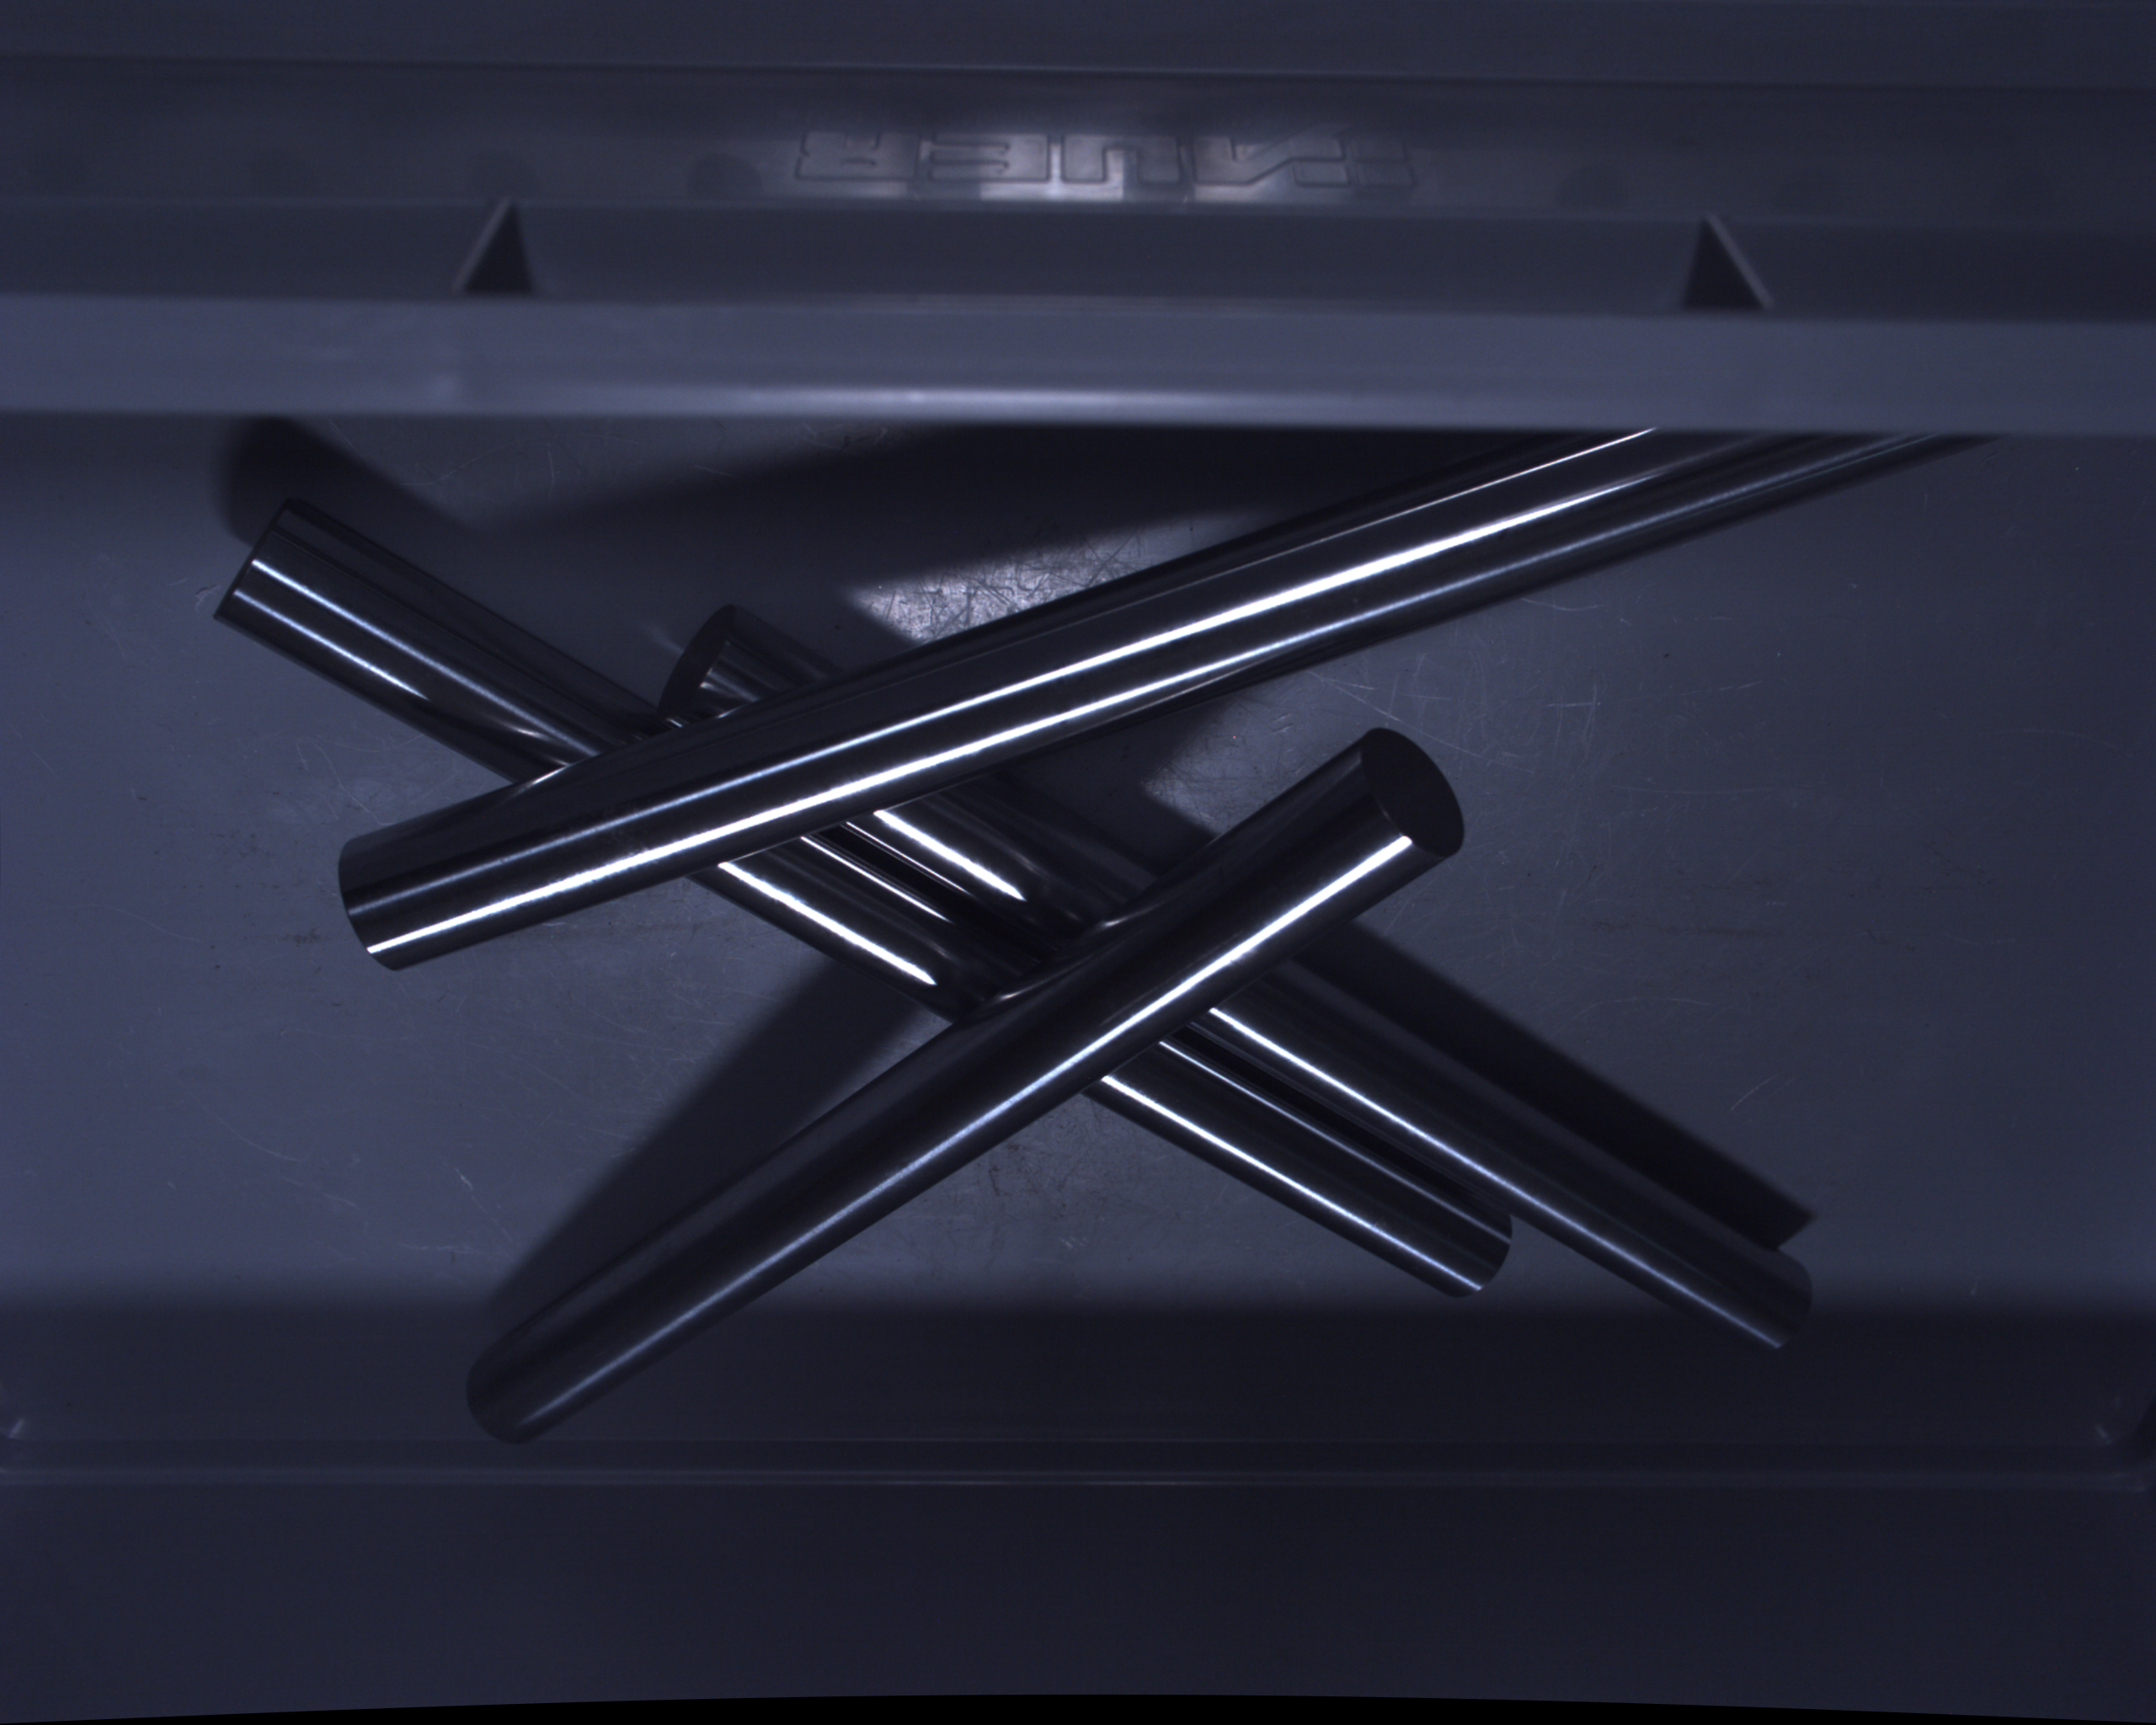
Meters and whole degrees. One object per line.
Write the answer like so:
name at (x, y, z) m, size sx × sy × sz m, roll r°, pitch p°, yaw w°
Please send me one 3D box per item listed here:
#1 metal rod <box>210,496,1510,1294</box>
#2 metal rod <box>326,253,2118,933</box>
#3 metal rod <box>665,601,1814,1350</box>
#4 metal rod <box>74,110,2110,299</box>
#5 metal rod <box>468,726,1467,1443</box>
metal rod at (-0.026, 0.018, 0.423) m, size 0.301 × 0.025 × 0.025 m, roll 31°, pitch 123°, yaw -24°
metal rod at (0.018, -0.044, 0.350) m, size 0.301 × 0.025 × 0.025 m, roll -17°, pitch 129°, yaw 6°
metal rod at (0.049, 0.034, 0.438) m, size 0.301 × 0.025 × 0.025 m, roll 31°, pitch 123°, yaw -24°
metal rod at (0.003, -0.101, 0.322) m, size 0.302 × 0.025 × 0.025 m, roll -1°, pitch 130°, yaw 0°
metal rod at (-0.042, 0.060, 0.432) m, size 0.025 × 0.025 × 0.299 m, roll 34°, pitch 130°, yaw -26°
